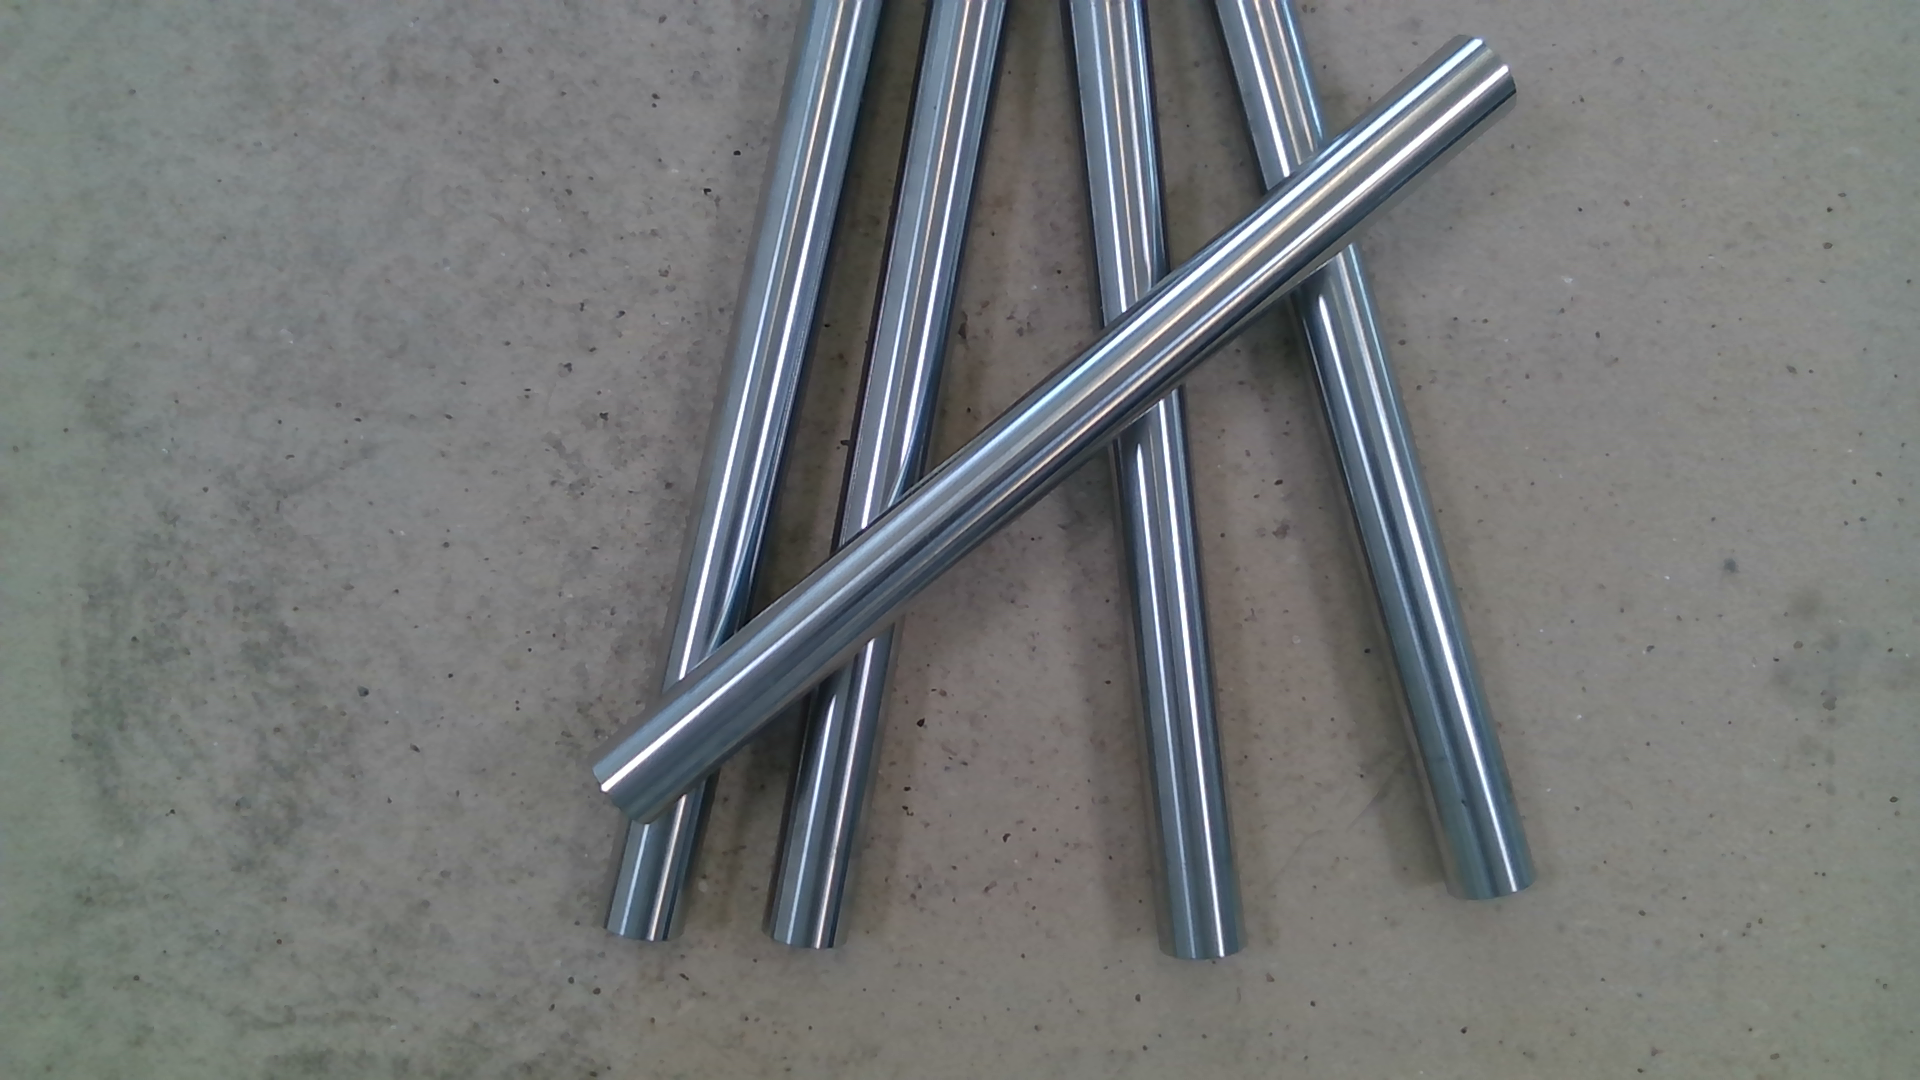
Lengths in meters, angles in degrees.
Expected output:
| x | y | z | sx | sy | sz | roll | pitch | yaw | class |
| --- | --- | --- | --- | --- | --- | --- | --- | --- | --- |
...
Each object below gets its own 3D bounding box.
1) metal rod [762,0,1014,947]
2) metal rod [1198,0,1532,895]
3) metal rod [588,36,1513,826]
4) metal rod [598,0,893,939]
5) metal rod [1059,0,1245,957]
| x | y | z | sx | sy | sz | roll | pitch | yaw | class |
| --- | --- | --- | --- | --- | --- | --- | --- | --- | --- |
| -0.018 | -0.035 | 0.395 | 0.025 | 0.025 | 0.300 | 10 | 90 | 0 | metal rod |
| 0.112 | -0.047 | 0.396 | 0.025 | 0.025 | 0.300 | -16 | 90 | 0 | metal rod |
| 0.024 | -0.029 | 0.370 | 0.300 | 0.025 | 0.025 | -40 | 90 | 0 | metal rod |
| -0.059 | -0.036 | 0.395 | 0.025 | 0.025 | 0.300 | 13 | 90 | 0 | metal rod |
| 0.054 | -0.033 | 0.396 | 0.025 | 0.025 | 0.300 | -6 | 90 | 0 | metal rod |
